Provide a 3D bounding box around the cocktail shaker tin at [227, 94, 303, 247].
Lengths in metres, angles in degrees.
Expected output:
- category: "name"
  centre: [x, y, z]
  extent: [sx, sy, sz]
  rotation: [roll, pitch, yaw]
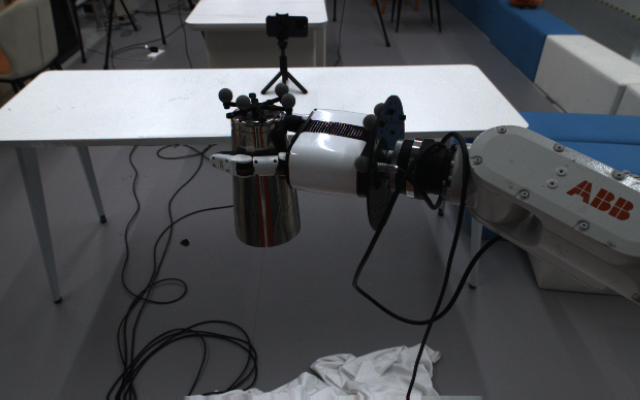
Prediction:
- category: "cocktail shaker tin"
  centre: [-0.070, -0.036, 0.634]
  extent: [0.093, 0.170, 0.093]
  rotation: [-1, 32, 1]
